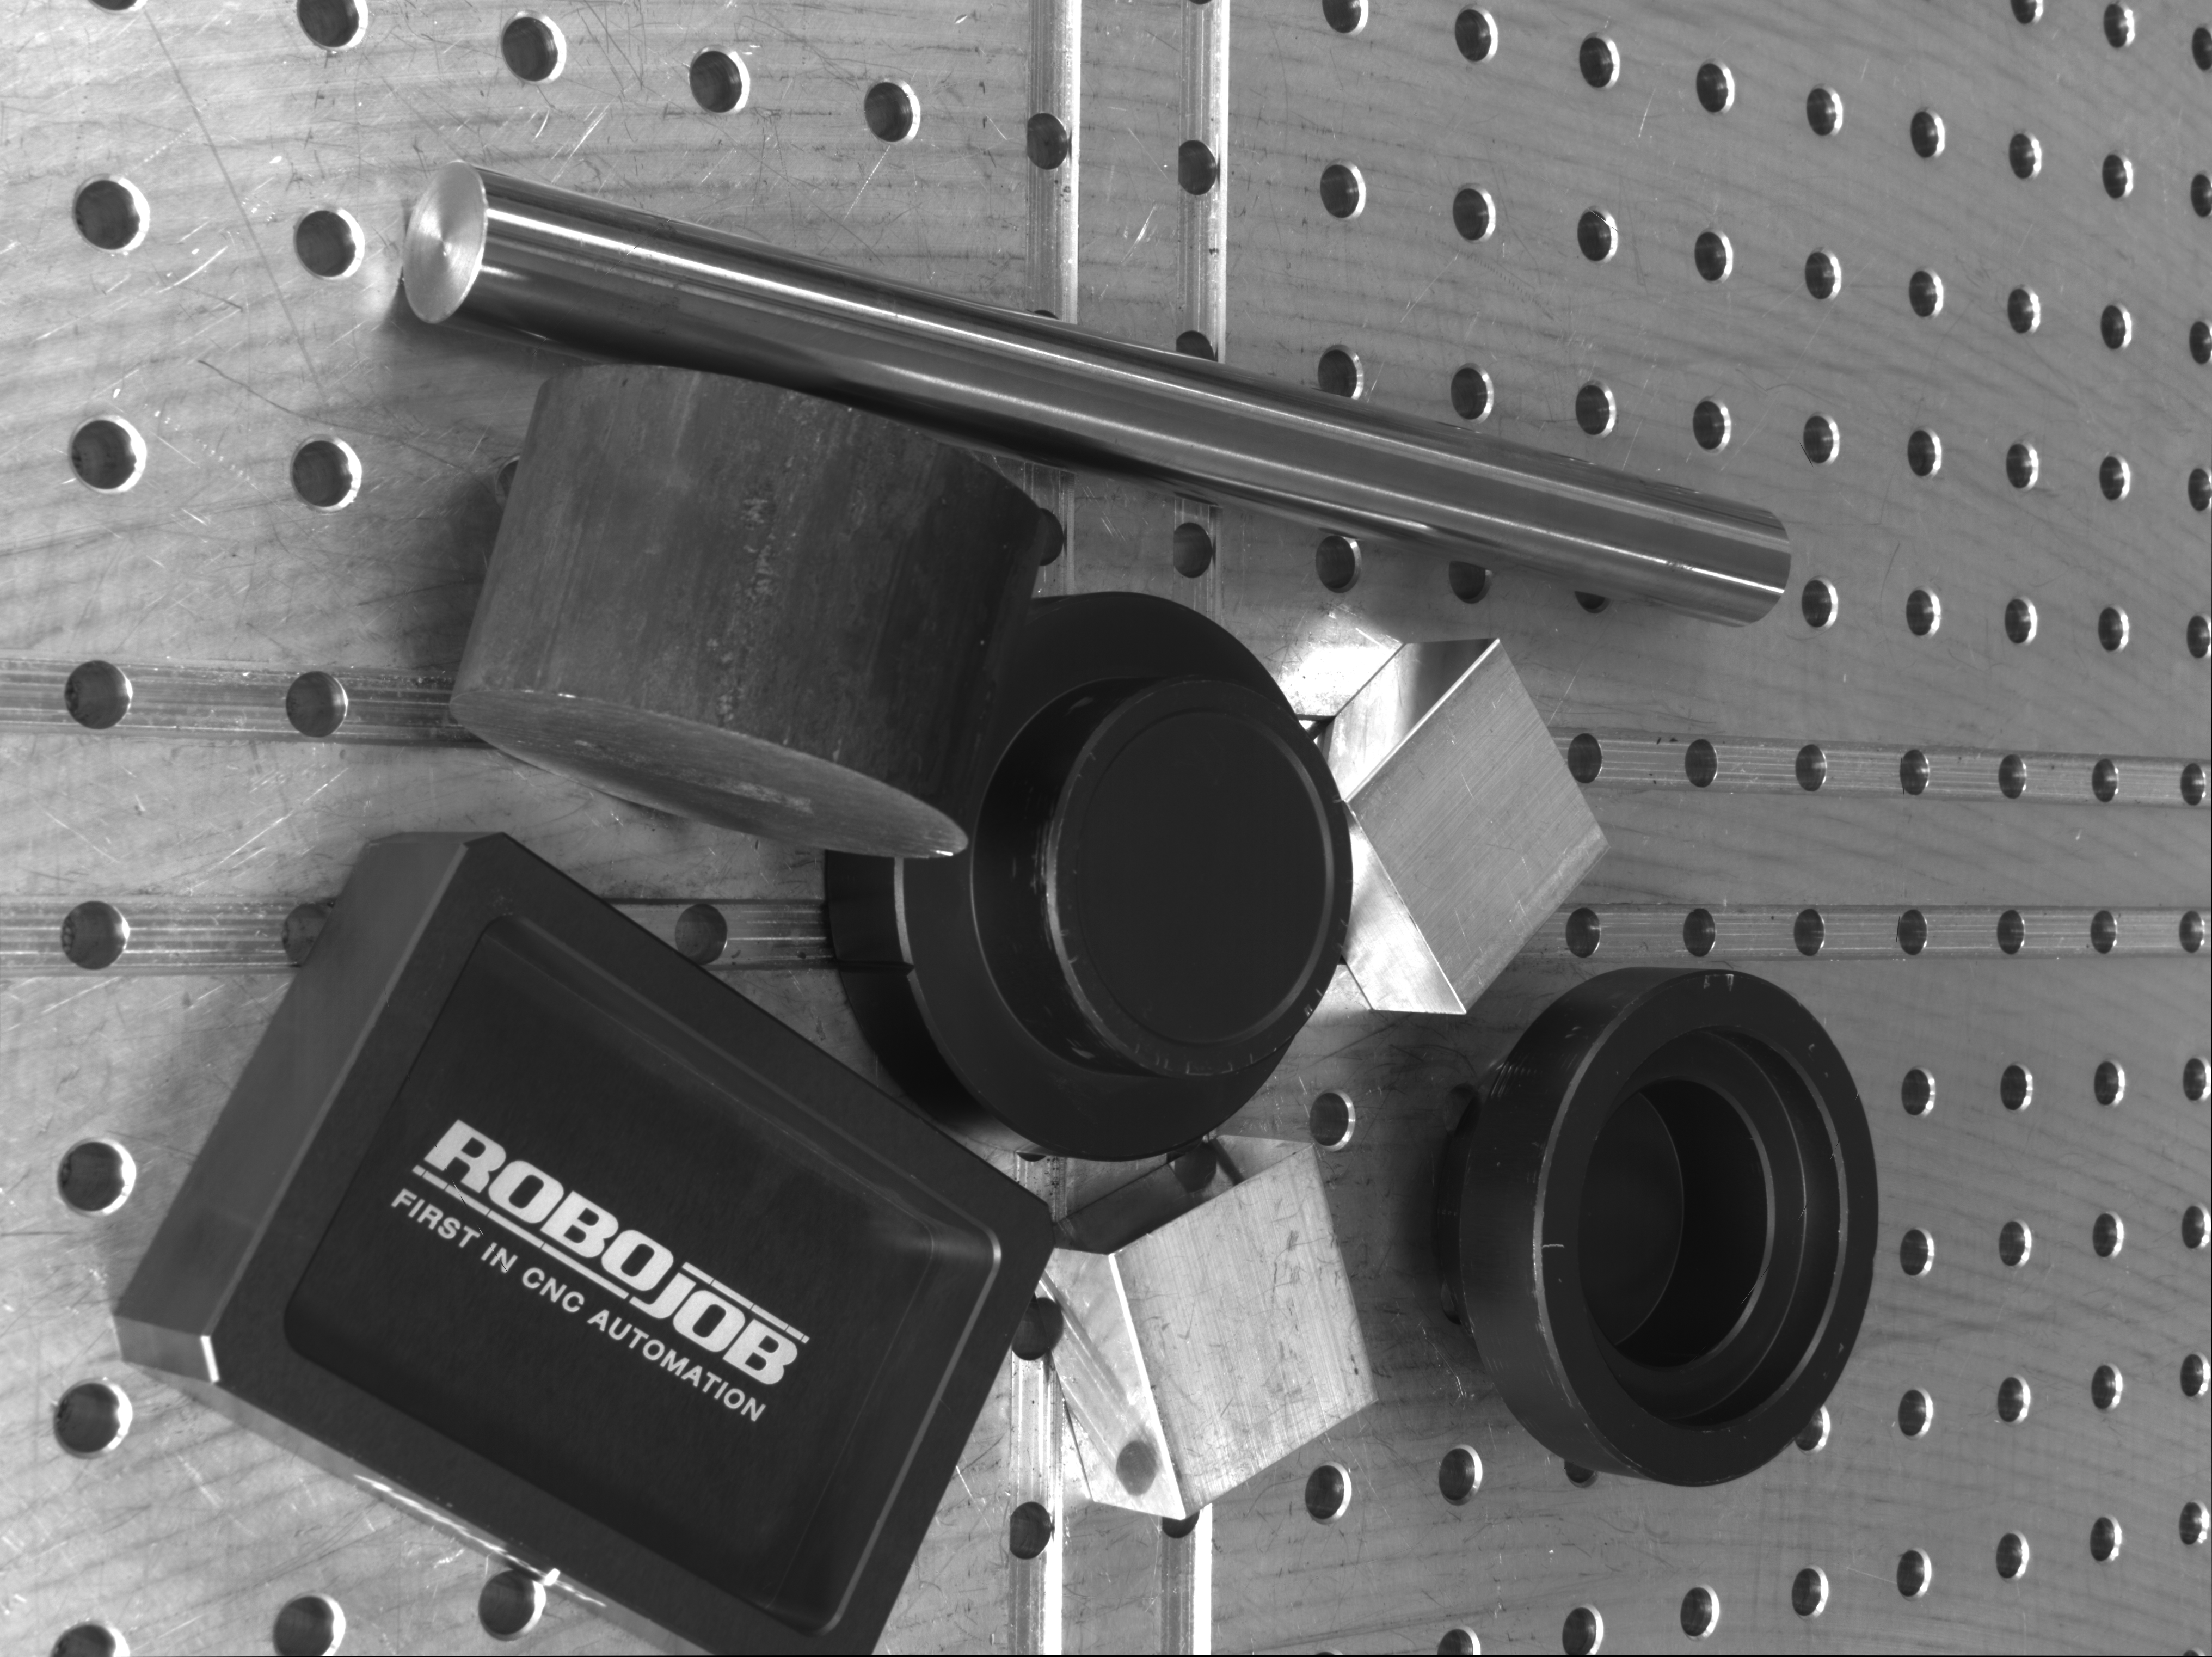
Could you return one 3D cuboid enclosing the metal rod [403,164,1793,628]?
[{"bbox_3d":[0.015,-0.071,0.651,0.301,0.025,0.025,9,84,-39],"label":"metal rod"}]

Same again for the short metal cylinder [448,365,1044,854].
[{"bbox_3d":[-0.054,-0.032,0.558,0.080,0.080,0.050,23,76,-37],"label":"short metal cylinder"}]

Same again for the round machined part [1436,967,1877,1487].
[{"bbox_3d":[0.102,0.076,0.713,0.098,0.042,0.098,0,90,-40],"label":"round machined part"}]

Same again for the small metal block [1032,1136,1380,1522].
[{"bbox_3d":[0.017,0.088,0.653,0.050,0.025,0.050,-24,105,-37],"label":"small metal block"}]

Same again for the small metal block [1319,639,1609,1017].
[{"bbox_3d":[0.061,0.000,0.690,0.050,0.025,0.050,-46,117,-30],"label":"small metal block"}]

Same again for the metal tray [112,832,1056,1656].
[{"bbox_3d":[-0.076,0.070,0.571,0.130,0.030,0.090,38,67,-33],"label":"metal tray"}]

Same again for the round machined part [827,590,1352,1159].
[{"bbox_3d":[0.004,0.008,0.630,0.098,0.042,0.098,3,85,-40],"label":"round machined part"}]
